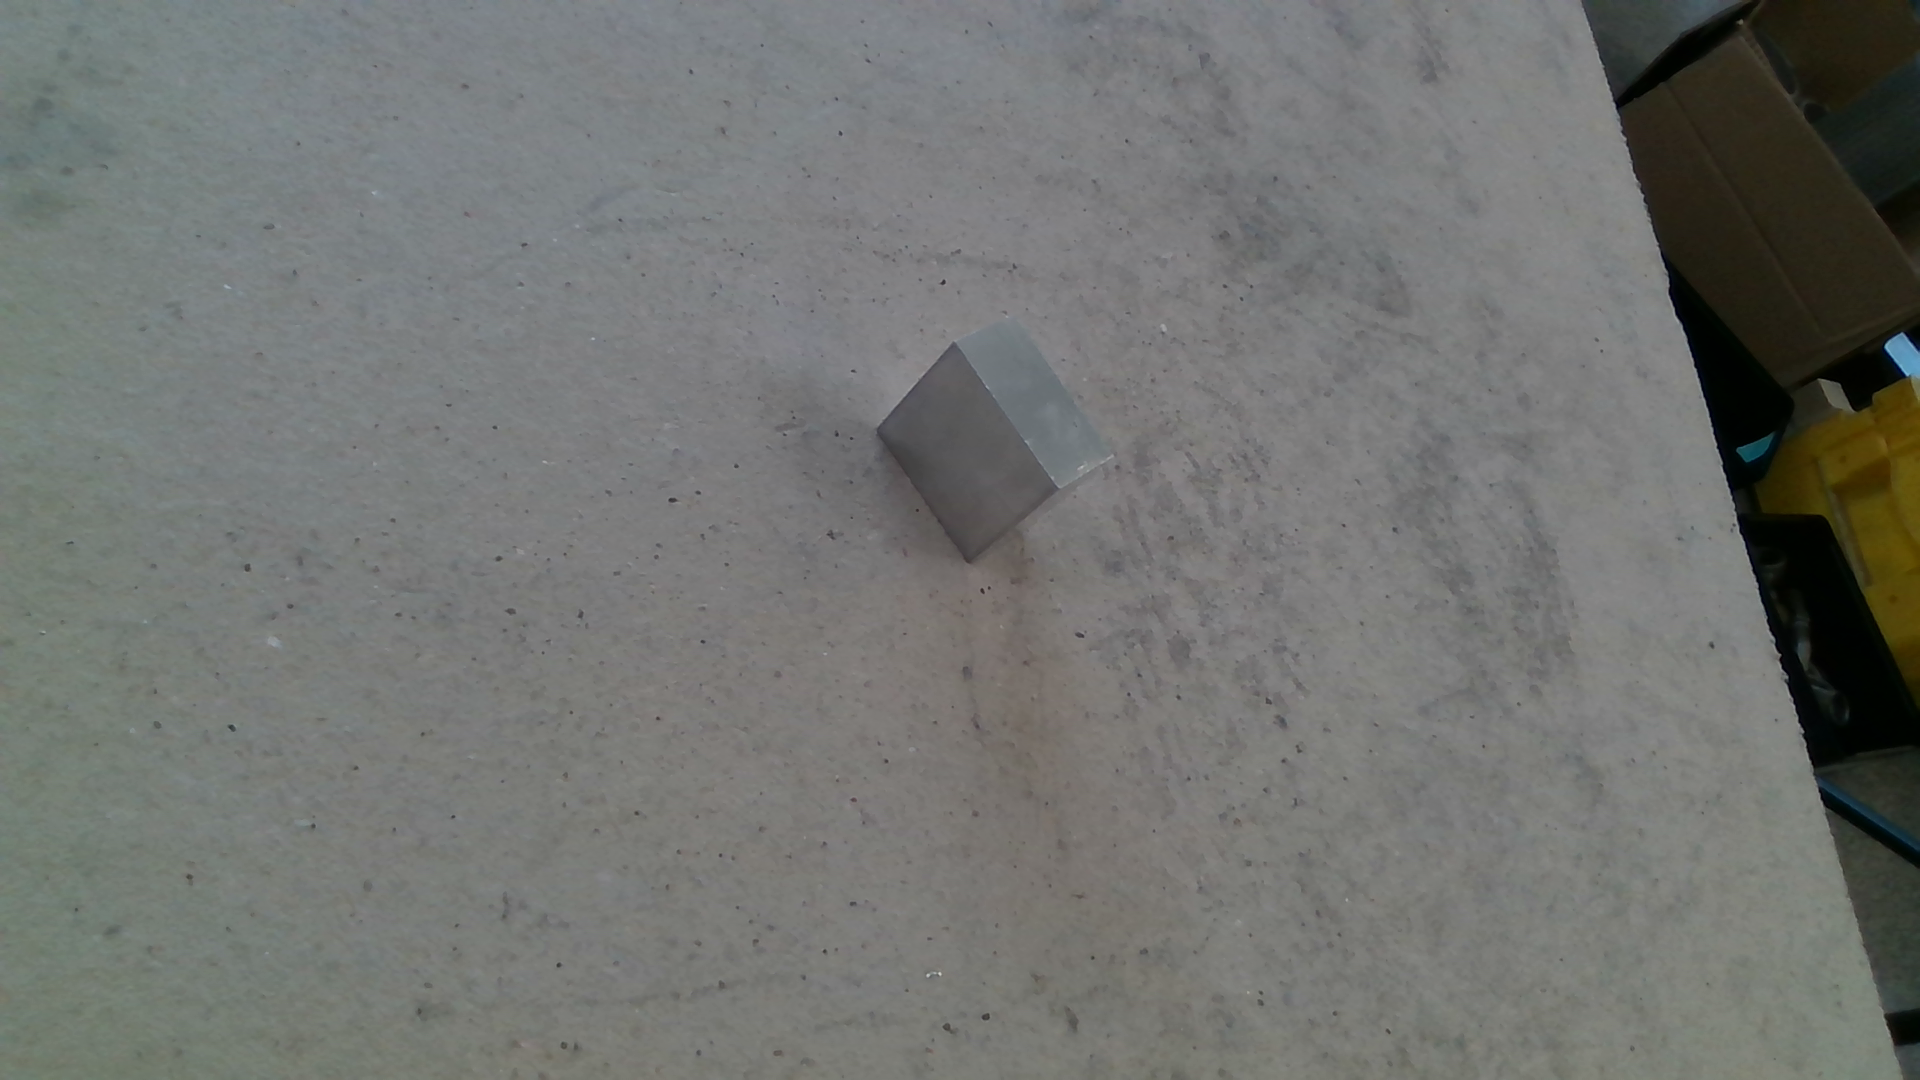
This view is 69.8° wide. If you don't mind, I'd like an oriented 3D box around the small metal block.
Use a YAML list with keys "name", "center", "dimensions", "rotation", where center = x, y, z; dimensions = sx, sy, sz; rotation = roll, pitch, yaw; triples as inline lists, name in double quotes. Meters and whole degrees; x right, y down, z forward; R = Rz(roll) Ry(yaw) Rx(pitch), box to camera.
- name: "small metal block"
  center: [0.009, -0.029, 0.398]
  dimensions: [0.025, 0.050, 0.050]
  rotation: [-31, 84, -39]
